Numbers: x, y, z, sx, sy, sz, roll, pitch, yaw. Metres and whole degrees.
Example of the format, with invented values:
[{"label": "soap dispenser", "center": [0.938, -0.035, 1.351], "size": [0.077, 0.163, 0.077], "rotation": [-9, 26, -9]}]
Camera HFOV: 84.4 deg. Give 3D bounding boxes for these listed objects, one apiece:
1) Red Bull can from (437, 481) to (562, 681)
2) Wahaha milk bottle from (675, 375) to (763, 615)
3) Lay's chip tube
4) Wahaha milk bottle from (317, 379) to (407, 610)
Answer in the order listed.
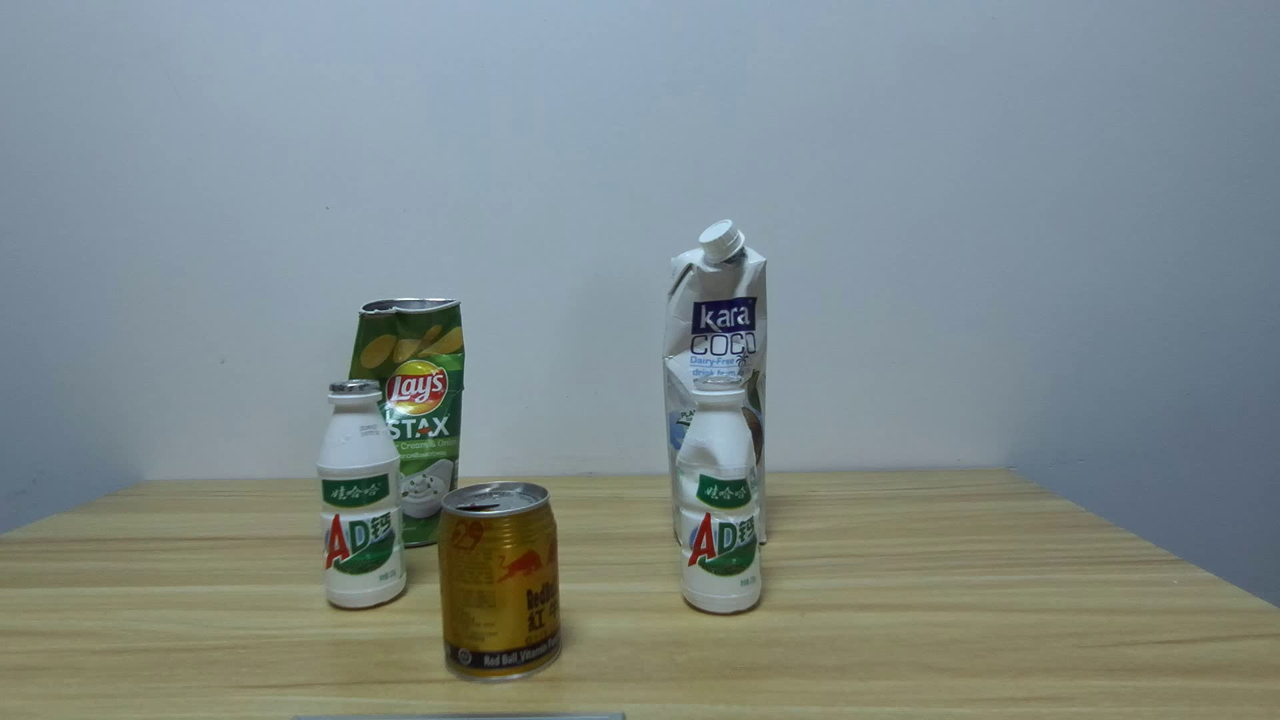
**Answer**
[{"label": "Red Bull can", "center": [-0.079, 0.121, 0.398], "size": [0.067, 0.093, 0.067], "rotation": [-1, 7, 0]}, {"label": "Wahaha milk bottle", "center": [0.051, 0.085, 0.455], "size": [0.055, 0.149, 0.055], "rotation": [-2, 8, 1]}, {"label": "Lay's chip tube", "center": [-0.194, 0.051, 0.594], "size": [0.069, 0.201, 0.077], "rotation": [0, 7, 28]}, {"label": "Wahaha milk bottle", "center": [-0.188, 0.089, 0.475], "size": [0.053, 0.147, 0.053], "rotation": [-3, 4, 0]}]
